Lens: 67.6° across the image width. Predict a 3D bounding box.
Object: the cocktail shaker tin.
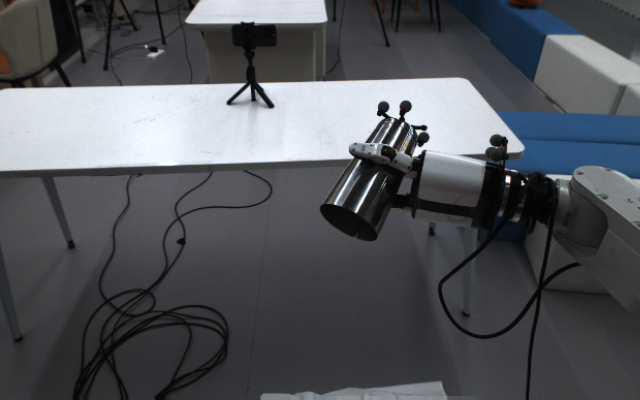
[{"bbox_3d":[0.081,-0.040,0.707,0.093,0.093,0.170,20,67,24],"label":"cocktail shaker tin"}]
